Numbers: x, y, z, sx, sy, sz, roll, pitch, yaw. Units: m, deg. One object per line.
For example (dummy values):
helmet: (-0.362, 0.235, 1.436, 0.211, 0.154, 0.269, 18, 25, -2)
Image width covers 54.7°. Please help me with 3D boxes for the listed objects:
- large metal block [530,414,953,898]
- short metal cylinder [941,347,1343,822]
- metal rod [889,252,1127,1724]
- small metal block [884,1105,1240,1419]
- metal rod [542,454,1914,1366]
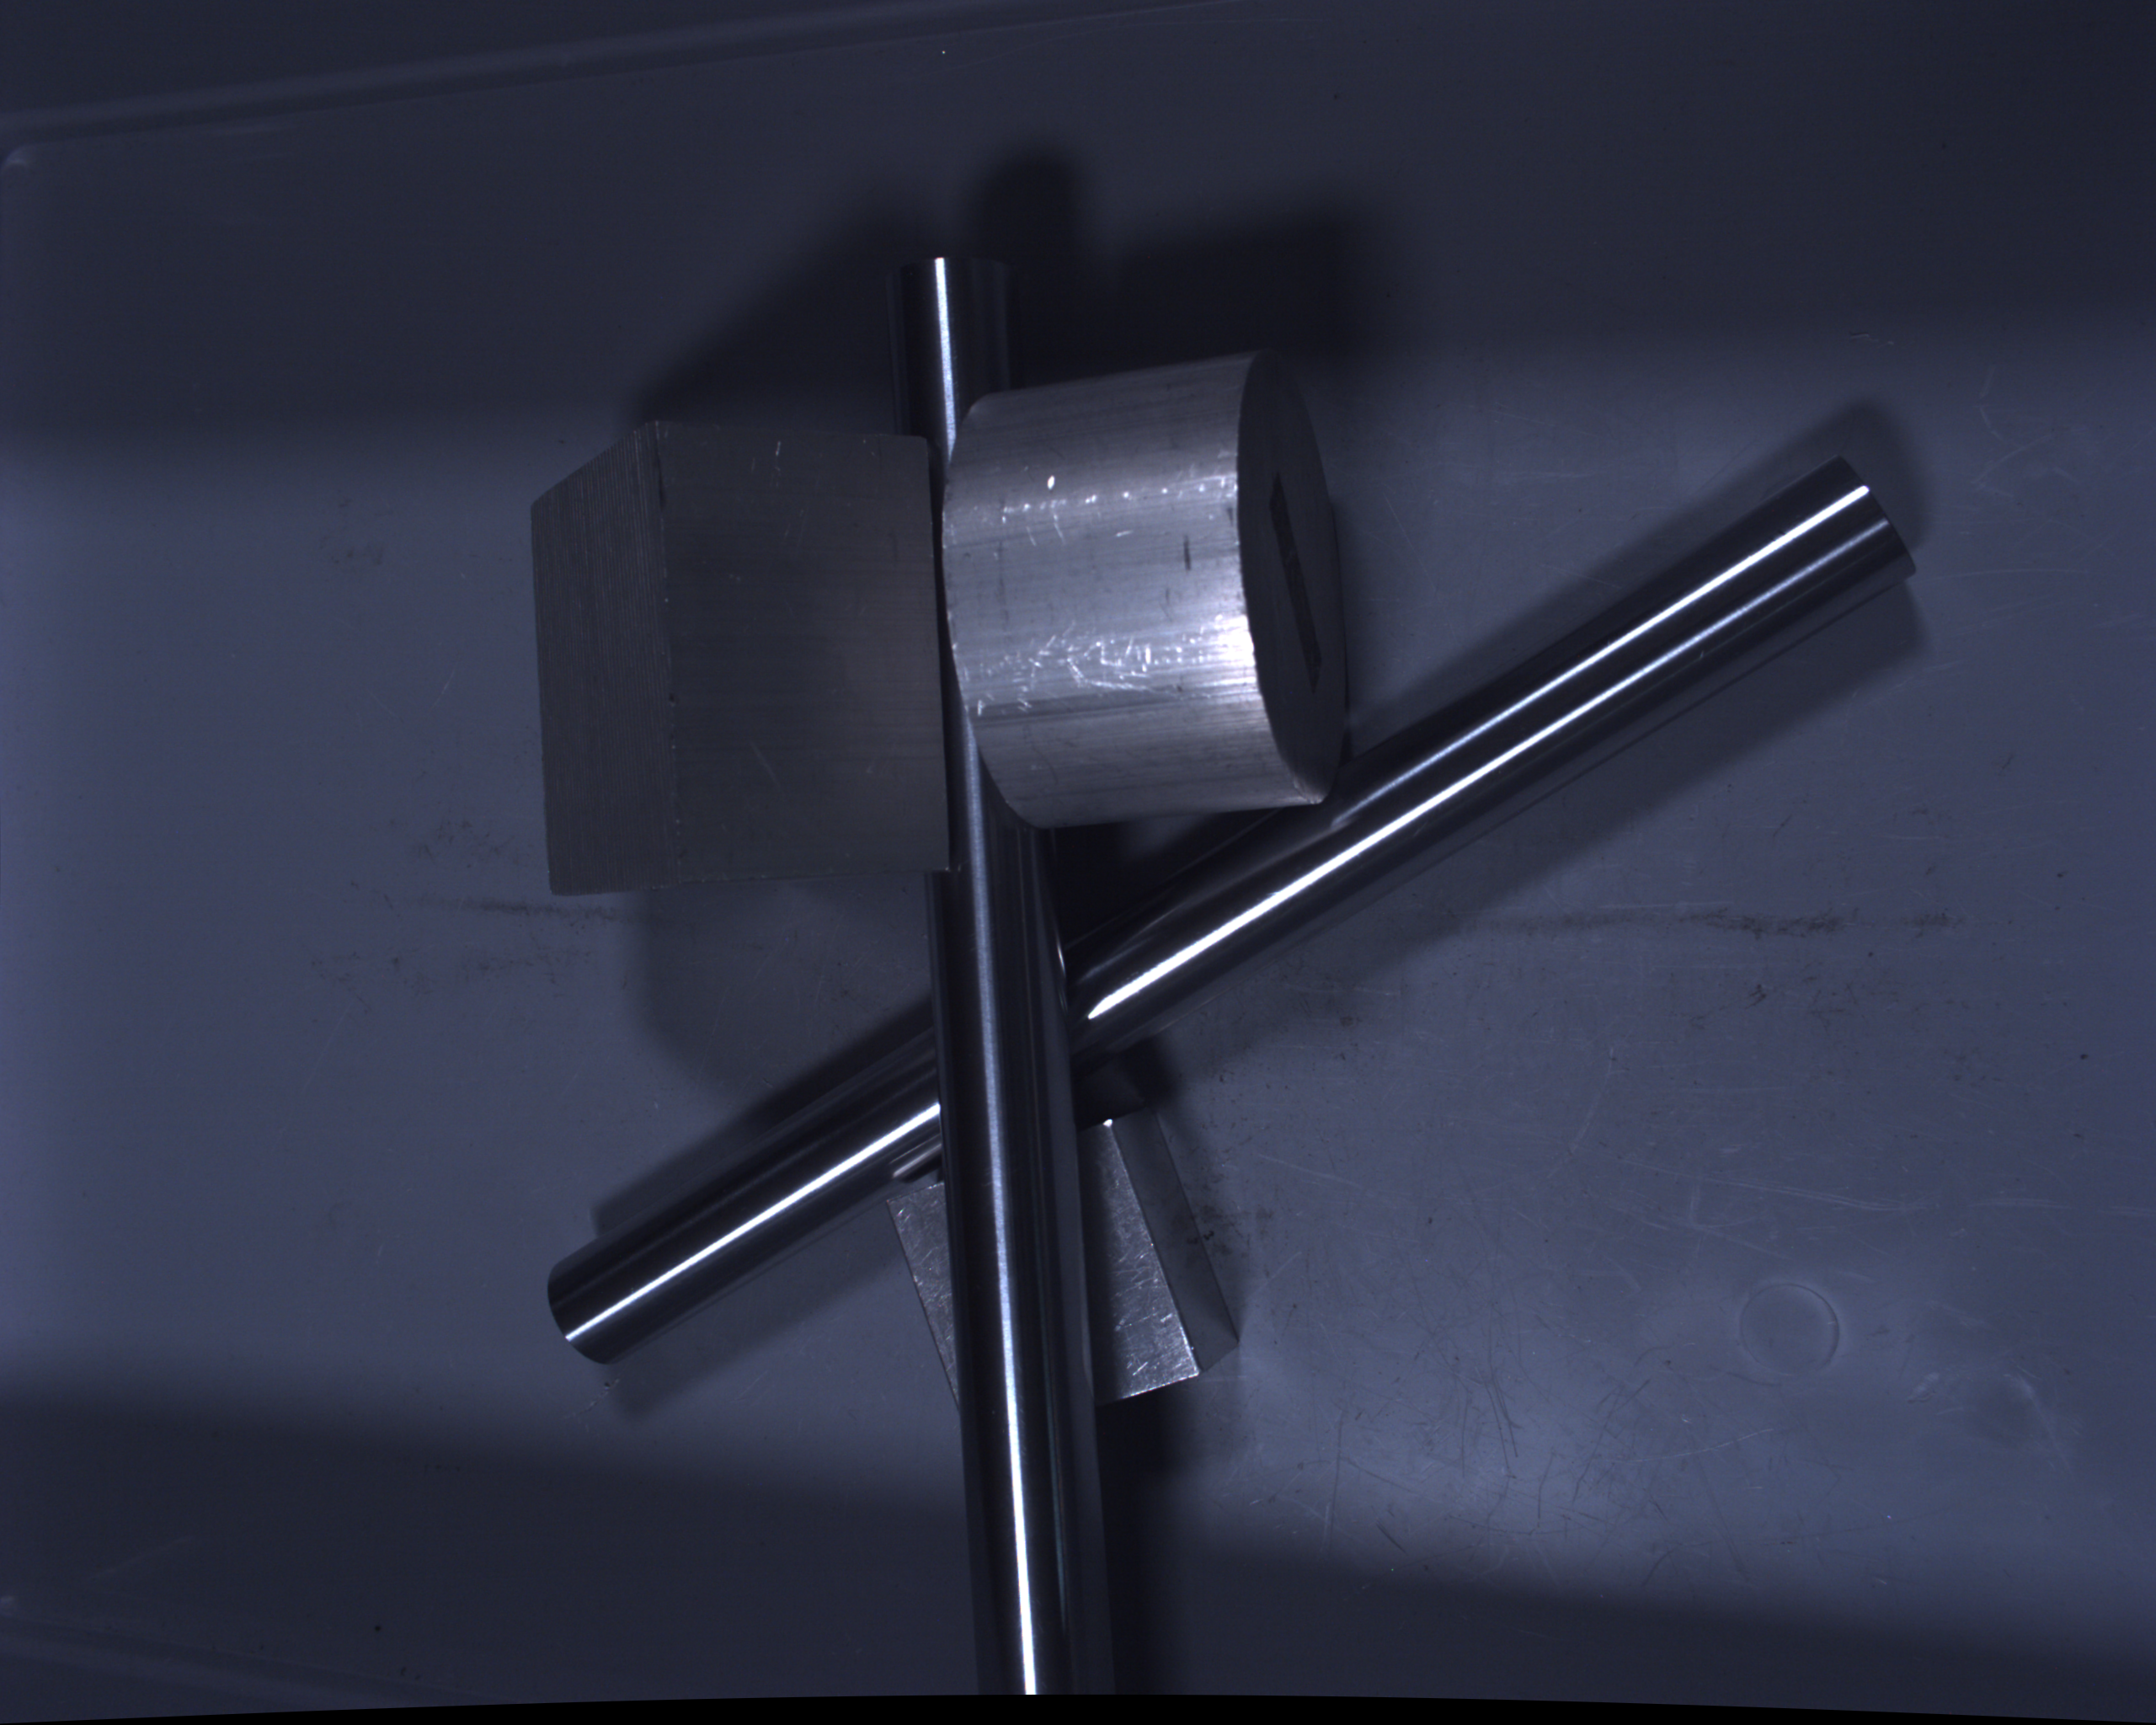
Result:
large metal block: (-0.067, -0.035, 0.397, 0.080, 0.050, 0.079, -5, 88, 60)
short metal cylinder: (0.014, -0.048, 0.373, 0.050, 0.080, 0.080, -5, 89, 18)
metal rod: (-0.012, 0.038, 0.385, 0.025, 0.025, 0.298, -5, 87, 19)
small metal block: (-0.003, 0.081, 0.409, 0.050, 0.025, 0.050, -22, 83, 18)
metal rod: (0.016, 0.018, 0.402, 0.300, 0.025, 0.025, -33, 80, 16)
